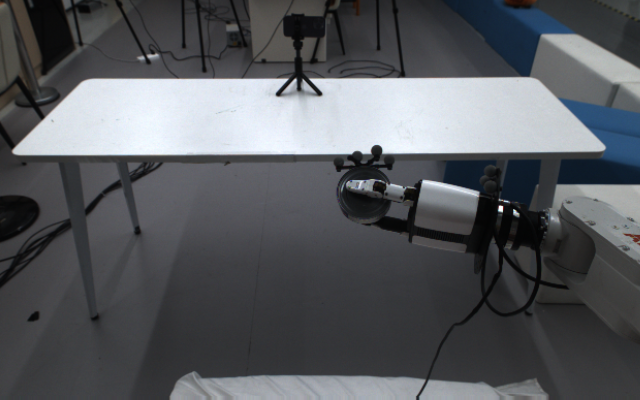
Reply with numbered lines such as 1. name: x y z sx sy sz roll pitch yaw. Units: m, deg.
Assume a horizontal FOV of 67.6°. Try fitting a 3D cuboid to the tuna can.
1. tuna can: 0.070 -0.008 0.747 0.085 0.034 0.085 -2 69 6
